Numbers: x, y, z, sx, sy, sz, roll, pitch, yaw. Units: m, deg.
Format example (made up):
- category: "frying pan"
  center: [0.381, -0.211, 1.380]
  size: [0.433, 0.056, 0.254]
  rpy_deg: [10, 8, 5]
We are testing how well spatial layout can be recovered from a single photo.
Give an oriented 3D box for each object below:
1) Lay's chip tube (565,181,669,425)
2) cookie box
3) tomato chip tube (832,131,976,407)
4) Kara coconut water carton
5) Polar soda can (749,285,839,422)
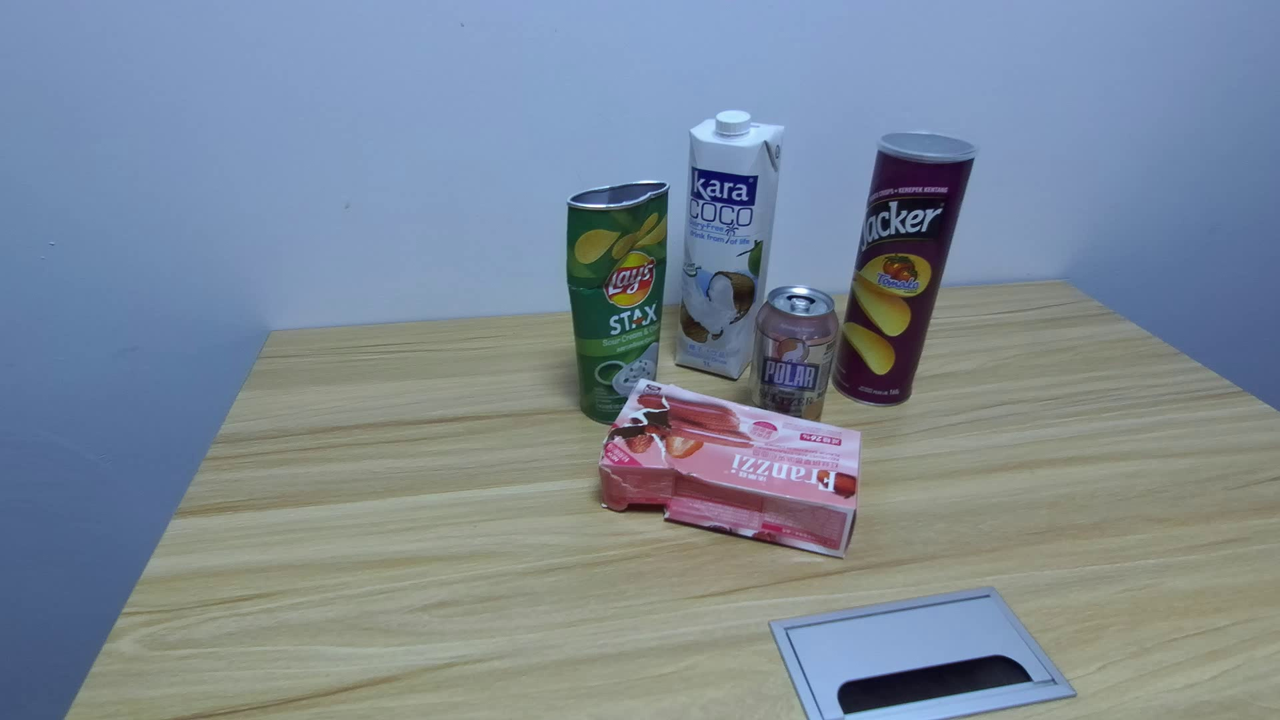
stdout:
- category: "Lay's chip tube"
  center: [-0.017, -0.045, 0.598]
  size: [0.069, 0.199, 0.075]
  rpy_deg: [9, 34, 12]
- category: "cookie box"
  center: [0.072, 0.077, 0.539]
  size: [0.185, 0.059, 0.105]
  rpy_deg: [10, 35, 12]
- category: "tomato chip tube"
  center: [0.233, -0.075, 0.636]
  size: [0.078, 0.234, 0.078]
  rpy_deg: [0, 31, 0]
- category: "Kara coconut water carton"
  center: [0.083, -0.106, 0.661]
  size: [0.077, 0.245, 0.075]
  rpy_deg: [16, 33, 23]
- category: "Polar soda can"
  center: [0.132, 0.002, 0.603]
  size: [0.067, 0.126, 0.067]
  rpy_deg: [0, 34, 0]
